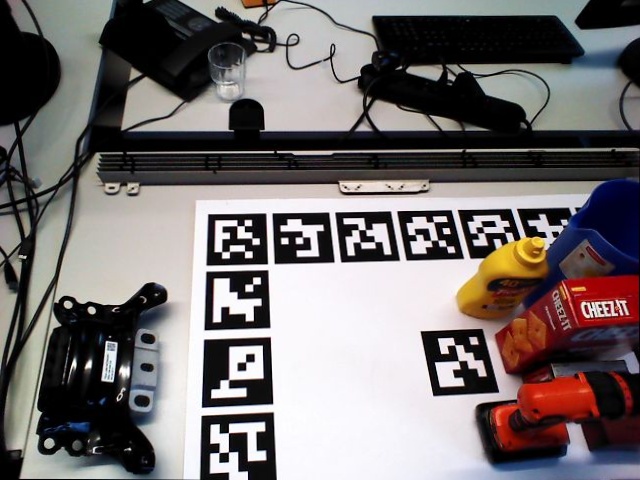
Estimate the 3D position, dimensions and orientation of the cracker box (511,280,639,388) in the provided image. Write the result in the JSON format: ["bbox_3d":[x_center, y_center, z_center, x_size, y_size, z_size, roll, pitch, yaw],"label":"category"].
[{"bbox_3d":[0.375,0.132,0.688,0.164,0.214,0.071,-3,58,-3],"label":"cracker box"}]

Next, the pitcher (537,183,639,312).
[{"bbox_3d":[0.419,0.041,0.737,0.189,0.243,0.132,5,60,1],"label":"pitcher"}]

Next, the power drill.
[{"bbox_3d":[0.310,0.219,0.615,0.185,0.188,0.057,-1,56,-5],"label":"power drill"}]

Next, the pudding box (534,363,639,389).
[{"bbox_3d":[0.366,0.201,0.709,0.114,0.090,0.038,0,58,-1],"label":"pudding box"}]

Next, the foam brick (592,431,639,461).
[{"bbox_3d":[0.423,0.273,0.709,0.078,0.051,0.052,2,61,-2],"label":"foam brick"}]

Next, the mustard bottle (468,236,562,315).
[{"bbox_3d":[0.286,0.047,0.739,0.096,0.192,0.058,12,61,3],"label":"mustard bottle"}]
